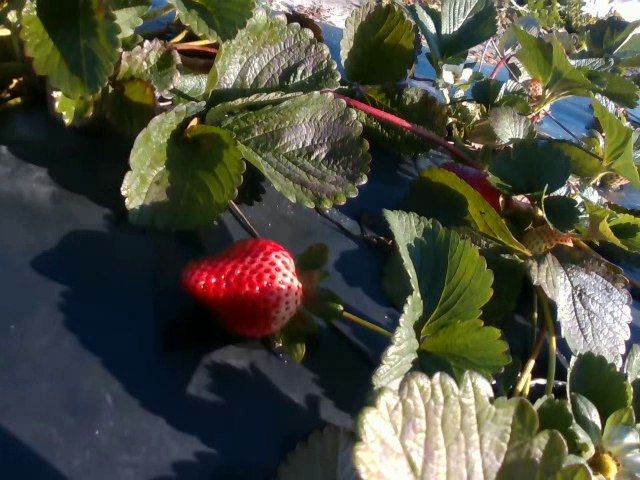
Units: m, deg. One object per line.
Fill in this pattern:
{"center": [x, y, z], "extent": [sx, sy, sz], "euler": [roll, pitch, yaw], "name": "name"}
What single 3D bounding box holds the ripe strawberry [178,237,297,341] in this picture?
{"center": [-0.028, 0.017, 0.217], "extent": [0.056, 0.042, 0.044], "euler": [10, -12, -38], "name": "ripe strawberry"}
